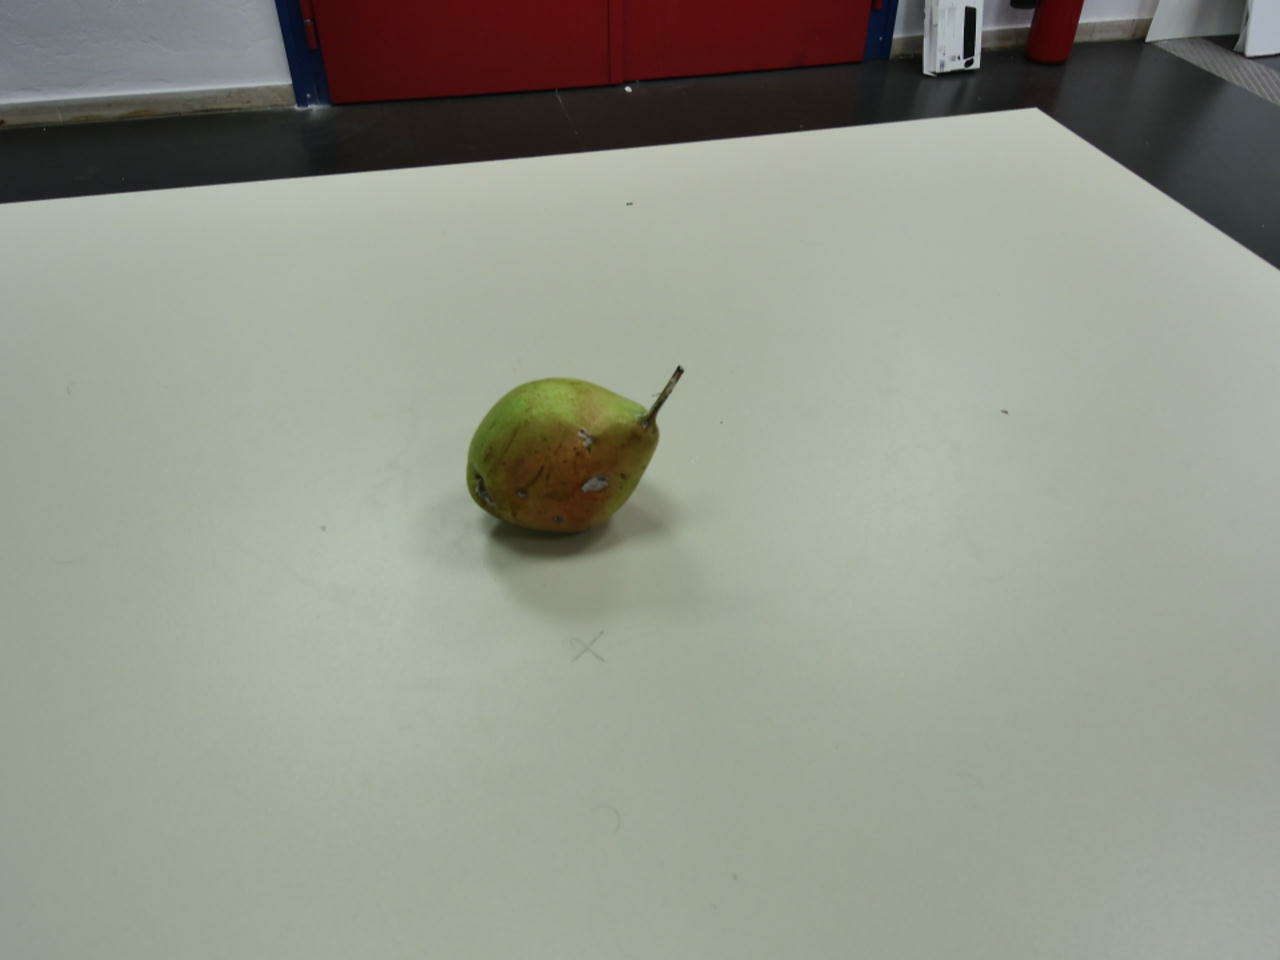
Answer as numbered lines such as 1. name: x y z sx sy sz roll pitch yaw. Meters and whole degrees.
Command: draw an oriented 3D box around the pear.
1. pear: -0.031 -0.012 0.397 0.070 0.069 0.068 25 45 29
